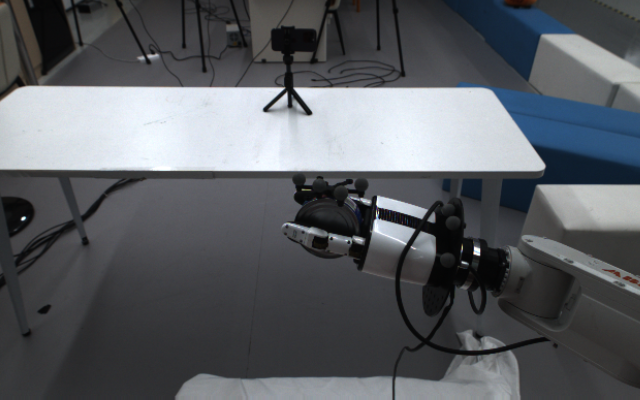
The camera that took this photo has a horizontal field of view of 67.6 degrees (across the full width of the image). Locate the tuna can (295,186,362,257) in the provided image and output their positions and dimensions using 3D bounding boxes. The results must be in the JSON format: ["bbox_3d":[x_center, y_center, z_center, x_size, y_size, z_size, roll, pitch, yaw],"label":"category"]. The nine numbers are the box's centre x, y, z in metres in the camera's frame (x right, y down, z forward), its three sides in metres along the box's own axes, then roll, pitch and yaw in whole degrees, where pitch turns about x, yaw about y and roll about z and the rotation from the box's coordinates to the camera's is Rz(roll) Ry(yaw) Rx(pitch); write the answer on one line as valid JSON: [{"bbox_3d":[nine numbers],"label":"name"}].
[{"bbox_3d":[0.012,0.030,0.630,0.085,0.085,0.034,9,23,10],"label":"tuna can"}]
